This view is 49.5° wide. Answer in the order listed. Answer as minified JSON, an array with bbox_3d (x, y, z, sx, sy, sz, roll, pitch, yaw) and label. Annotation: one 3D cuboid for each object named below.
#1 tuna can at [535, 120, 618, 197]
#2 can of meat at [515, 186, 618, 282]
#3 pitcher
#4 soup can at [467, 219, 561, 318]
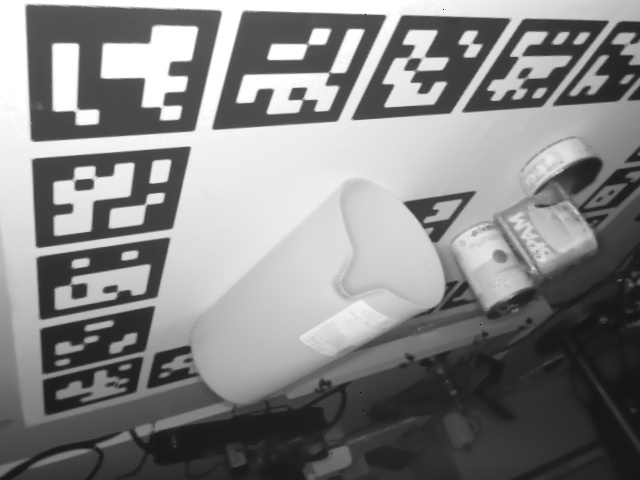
[{"bbox_3d":[0.279,-0.089,0.755,0.086,0.034,0.085,-18,145,-12],"label":"tuna can"},{"bbox_3d":[0.292,-0.013,0.803,0.083,0.102,0.058,-33,146,5],"label":"can of meat"},{"bbox_3d":[0.005,0.057,0.676,0.238,0.133,0.192,-41,167,36],"label":"pitcher"},{"bbox_3d":[0.232,0.033,0.837,0.068,0.102,0.067,-20,147,-13],"label":"soup can"}]
